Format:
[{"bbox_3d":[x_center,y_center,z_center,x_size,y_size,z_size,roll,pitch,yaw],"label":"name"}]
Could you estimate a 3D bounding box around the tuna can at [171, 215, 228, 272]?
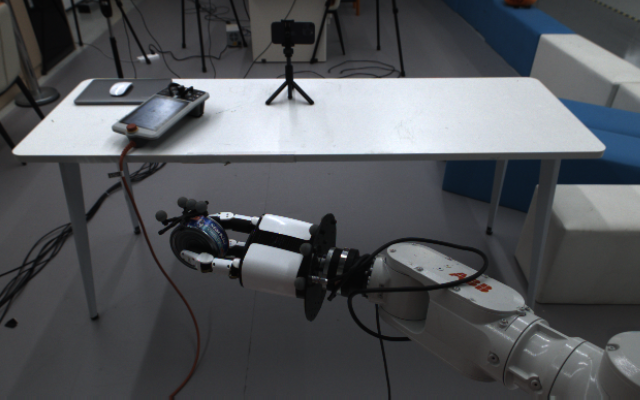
[{"bbox_3d":[-0.185,0.067,0.743,0.085,0.085,0.034,11,34,13],"label":"tuna can"}]
